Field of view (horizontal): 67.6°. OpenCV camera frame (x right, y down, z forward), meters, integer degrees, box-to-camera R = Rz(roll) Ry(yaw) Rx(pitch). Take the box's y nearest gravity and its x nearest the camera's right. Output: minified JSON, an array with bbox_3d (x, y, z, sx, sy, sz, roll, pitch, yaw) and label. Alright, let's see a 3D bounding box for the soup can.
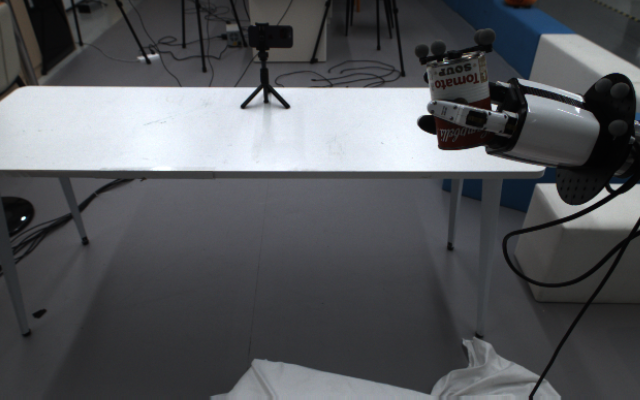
[{"bbox_3d":[0.169,-0.119,0.576,0.067,0.101,0.067,-13,17,4],"label":"soup can"}]
